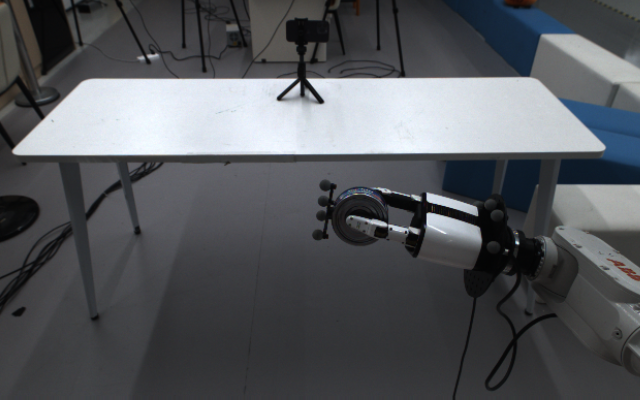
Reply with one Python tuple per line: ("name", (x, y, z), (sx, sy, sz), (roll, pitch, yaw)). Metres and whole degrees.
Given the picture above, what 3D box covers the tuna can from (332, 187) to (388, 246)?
("tuna can", (0.062, 0.028, 0.721), (0.085, 0.085, 0.034), (5, 18, 4))
